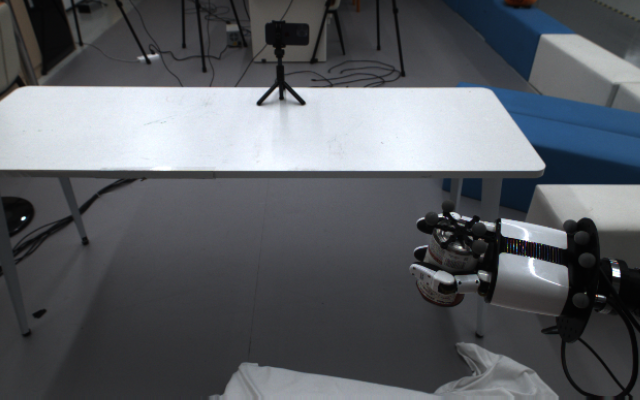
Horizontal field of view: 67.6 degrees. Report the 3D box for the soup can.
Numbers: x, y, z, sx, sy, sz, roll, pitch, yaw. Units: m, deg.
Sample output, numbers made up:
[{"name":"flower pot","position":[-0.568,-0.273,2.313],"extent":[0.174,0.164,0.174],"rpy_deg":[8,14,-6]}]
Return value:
[{"name":"soup can","position":[0.175,0.084,0.650],"extent":[0.067,0.101,0.067],"rpy_deg":[5,37,-4]}]
